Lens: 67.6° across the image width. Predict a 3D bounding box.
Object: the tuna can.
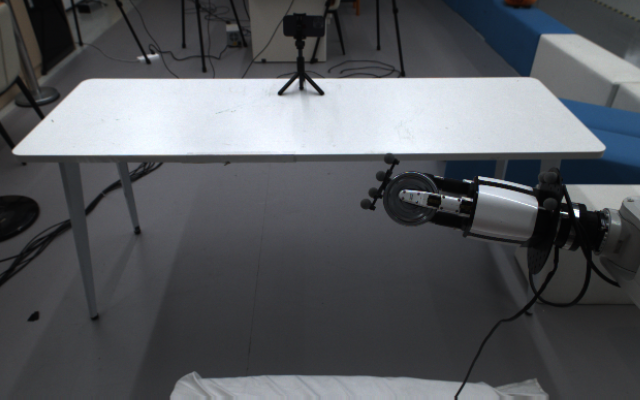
[{"bbox_3d":[0.142,-0.005,0.747,0.085,0.085,0.034,9,4,10],"label":"tuna can"}]
